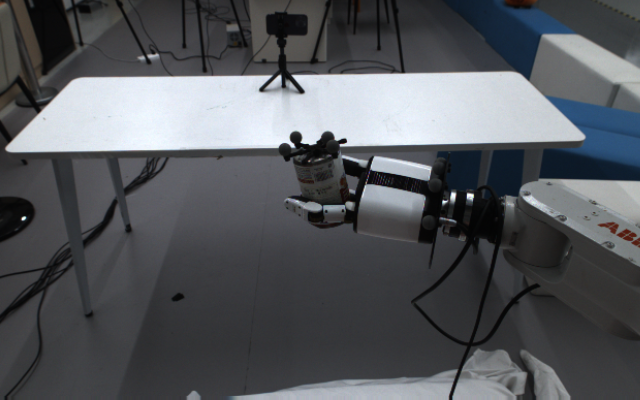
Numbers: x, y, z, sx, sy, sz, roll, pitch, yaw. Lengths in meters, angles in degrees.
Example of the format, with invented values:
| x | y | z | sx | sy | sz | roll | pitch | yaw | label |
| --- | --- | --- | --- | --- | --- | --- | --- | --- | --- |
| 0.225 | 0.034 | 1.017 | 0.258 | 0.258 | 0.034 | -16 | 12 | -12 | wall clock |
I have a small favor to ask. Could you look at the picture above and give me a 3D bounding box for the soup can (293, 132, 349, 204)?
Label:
| x | y | z | sx | sy | sz | roll | pitch | yaw | label |
| --- | --- | --- | --- | --- | --- | --- | --- | --- | --- |
| 0.007 | -0.021 | 0.674 | 0.067 | 0.101 | 0.067 | -11 | 27 | 6 | soup can |
